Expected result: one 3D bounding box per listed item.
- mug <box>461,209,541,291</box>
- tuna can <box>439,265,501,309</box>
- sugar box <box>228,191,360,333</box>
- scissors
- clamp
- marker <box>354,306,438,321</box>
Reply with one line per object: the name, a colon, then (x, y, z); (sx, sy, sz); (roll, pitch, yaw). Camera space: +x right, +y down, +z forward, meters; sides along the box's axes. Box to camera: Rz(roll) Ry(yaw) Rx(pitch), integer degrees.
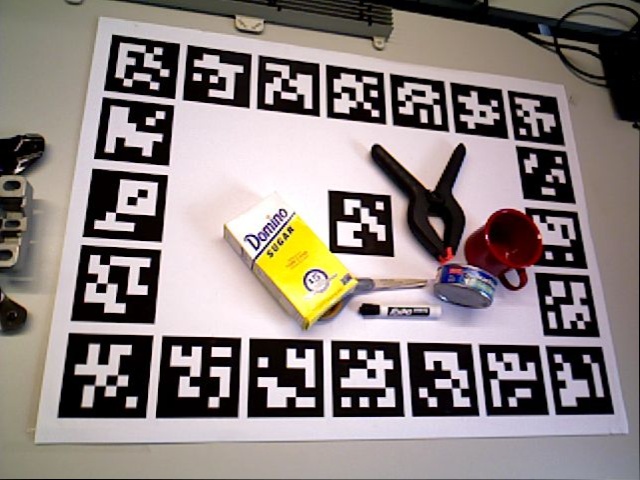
mug: (0.268, 0.022, 0.801); (0.092, 0.083, 0.117); (-24, 75, -20)
tuna can: (0.213, 0.067, 0.768); (0.085, 0.087, 0.033); (20, 67, -6)
sugar box: (-0.037, 0.027, 0.738); (0.091, 0.046, 0.176); (-34, 76, -22)
scissors: (0.063, 0.061, 0.768); (0.200, 0.016, 0.087); (-6, 70, -17)
clamp: (0.172, -0.060, 0.838); (0.163, 0.037, 0.202); (-7, 75, -16)
marker: (0.107, 0.103, 0.767); (0.120, 0.020, 0.019); (0, 72, -13)
